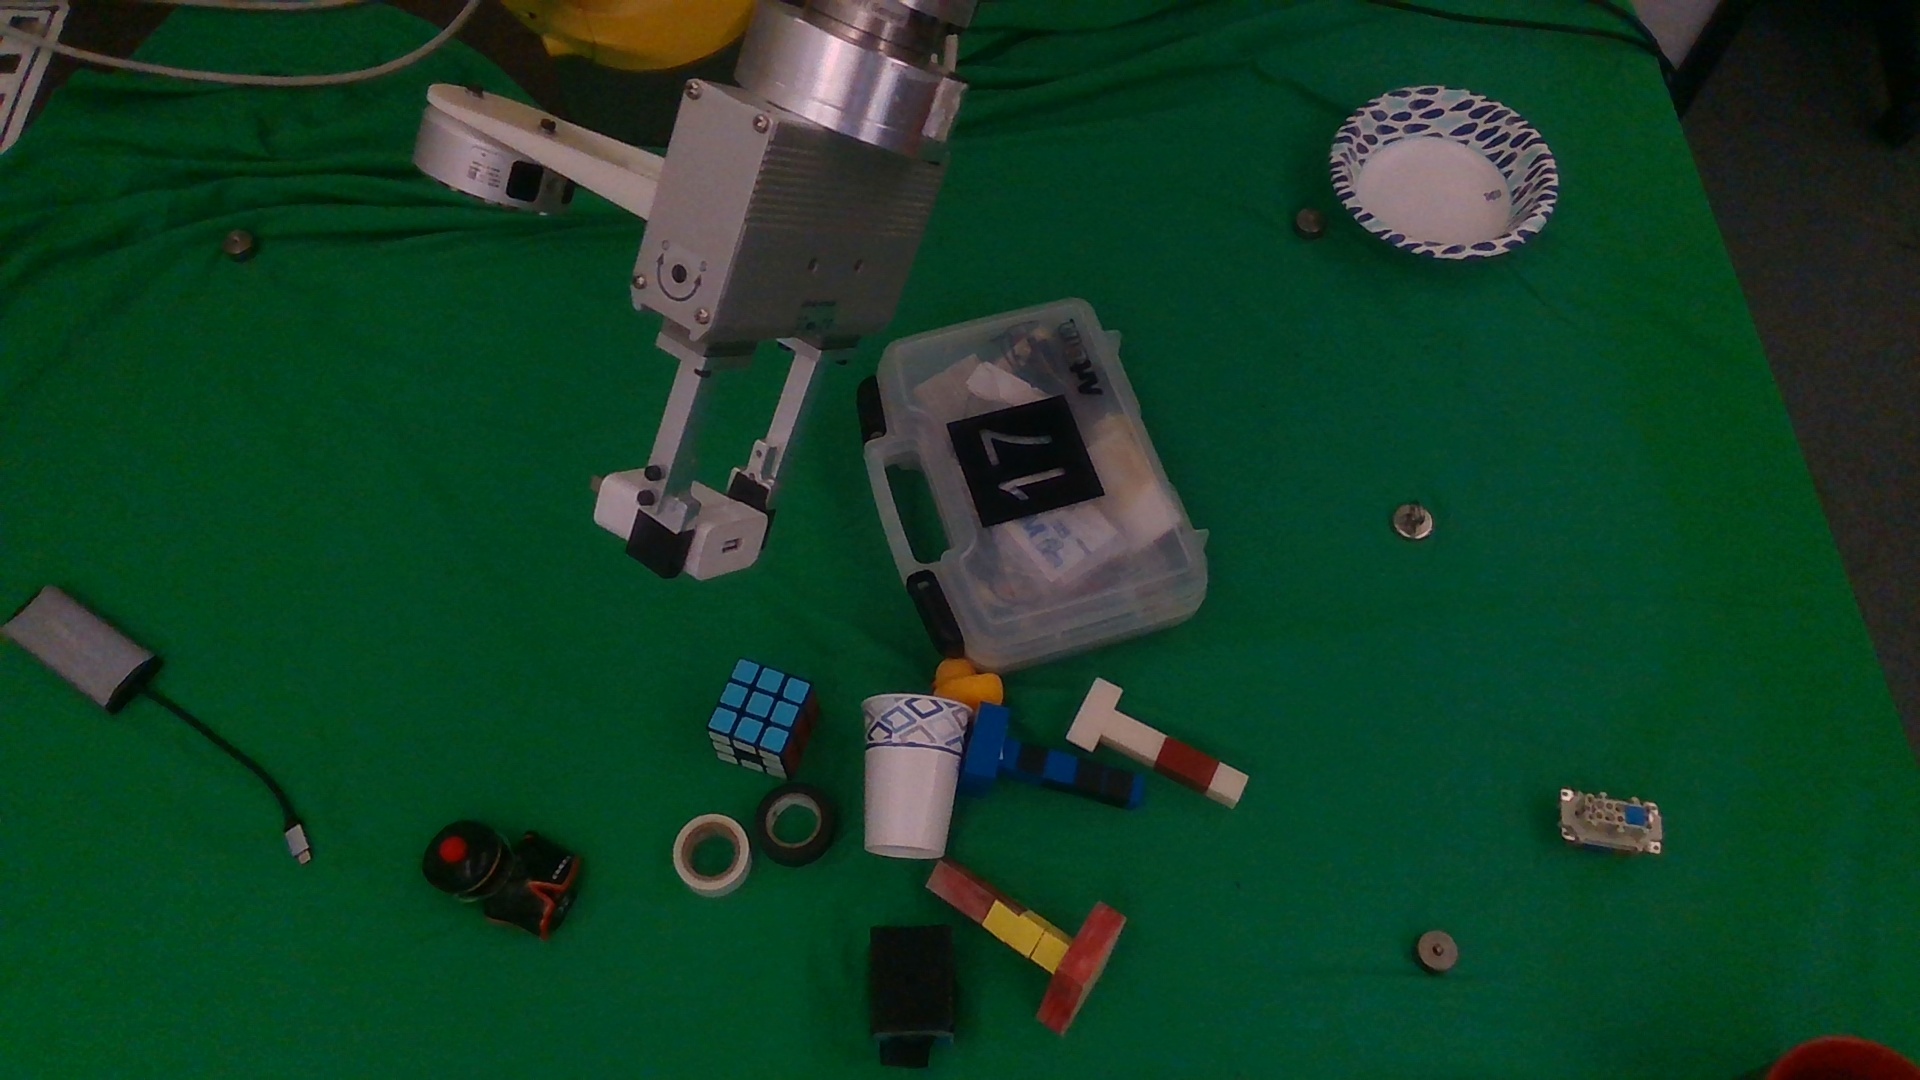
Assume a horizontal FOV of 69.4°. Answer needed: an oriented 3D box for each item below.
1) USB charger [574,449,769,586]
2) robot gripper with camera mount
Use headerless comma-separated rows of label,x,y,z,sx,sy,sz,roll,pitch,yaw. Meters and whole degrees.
USB charger,-0.117,-0.013,0.551,0.075,0.029,0.044,27,29,5
robot gripper with camera mount,-0.140,-0.104,0.541,0.194,0.159,0.118,30,26,19
